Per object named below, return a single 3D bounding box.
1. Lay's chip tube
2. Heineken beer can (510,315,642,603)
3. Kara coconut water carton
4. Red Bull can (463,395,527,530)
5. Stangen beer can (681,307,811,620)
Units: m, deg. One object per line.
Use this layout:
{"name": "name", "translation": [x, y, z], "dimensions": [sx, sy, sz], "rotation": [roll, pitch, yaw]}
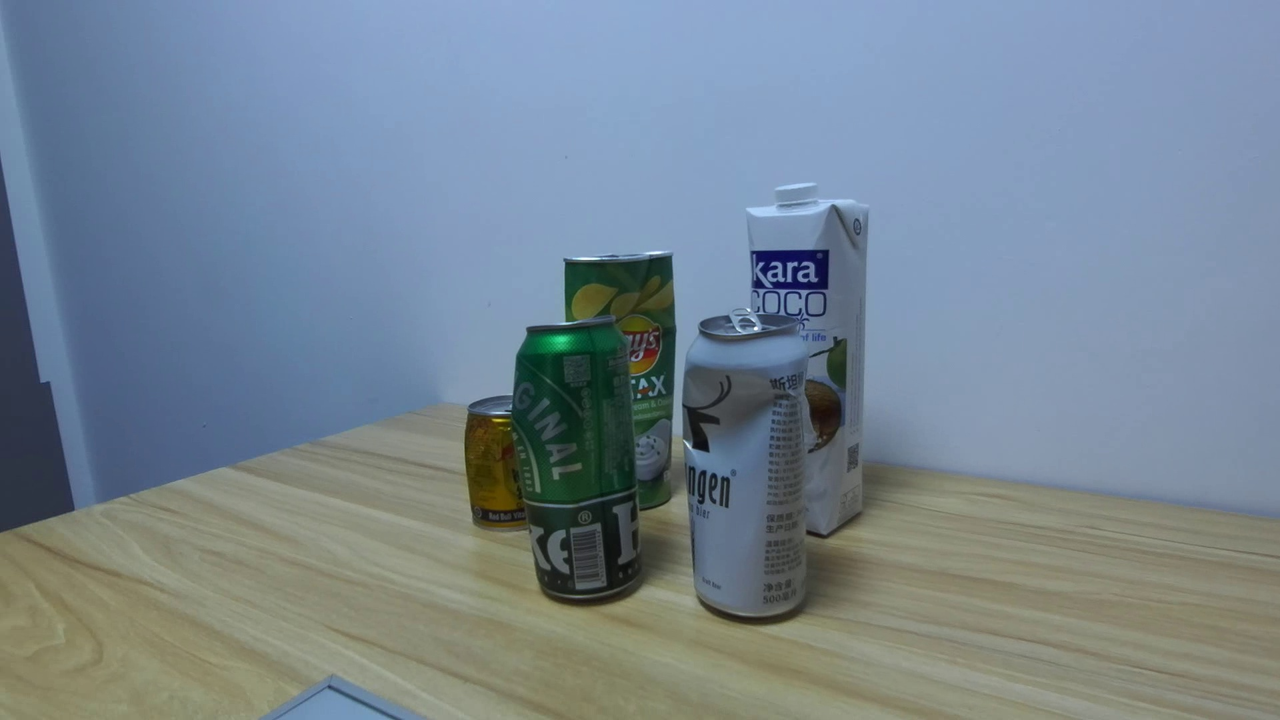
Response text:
{"name": "Lay's chip tube", "translation": [-0.011, 0.016, 0.572], "dimensions": [0.068, 0.199, 0.075], "rotation": [3, 14, 25]}
{"name": "Heineken beer can", "translation": [-0.036, 0.061, 0.436], "dimensions": [0.068, 0.168, 0.069], "rotation": [-3, 6, 6]}
{"name": "Kara coconut water carton", "translation": [0.121, -0.001, 0.515], "dimensions": [0.076, 0.245, 0.076], "rotation": [6, 12, 40]}
{"name": "Red Bull can", "translation": [-0.106, 0.080, 0.563], "dimensions": [0.072, 0.092, 0.072], "rotation": [-1, 10, 0]}
{"name": "Stangen beer can", "translation": [0.061, 0.059, 0.401], "dimensions": [0.070, 0.173, 0.070], "rotation": [-3, 12, -3]}
